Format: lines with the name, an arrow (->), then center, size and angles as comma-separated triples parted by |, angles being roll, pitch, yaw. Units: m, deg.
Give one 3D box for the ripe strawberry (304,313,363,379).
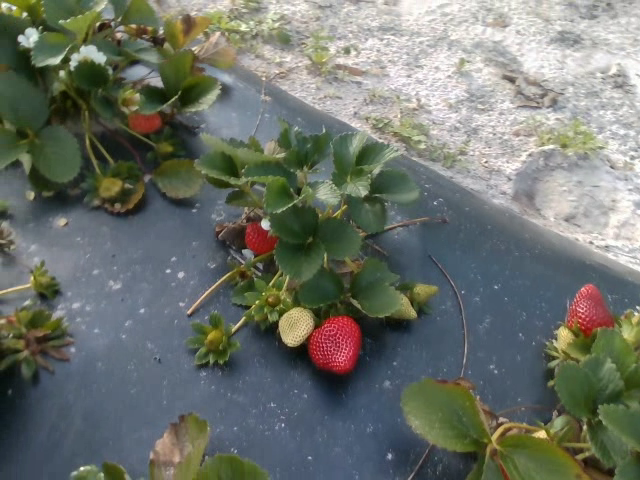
ripe strawberry -> 0.013, 0.091, 0.501 | 0.051, 0.048, 0.055 | -38, 20, 11
